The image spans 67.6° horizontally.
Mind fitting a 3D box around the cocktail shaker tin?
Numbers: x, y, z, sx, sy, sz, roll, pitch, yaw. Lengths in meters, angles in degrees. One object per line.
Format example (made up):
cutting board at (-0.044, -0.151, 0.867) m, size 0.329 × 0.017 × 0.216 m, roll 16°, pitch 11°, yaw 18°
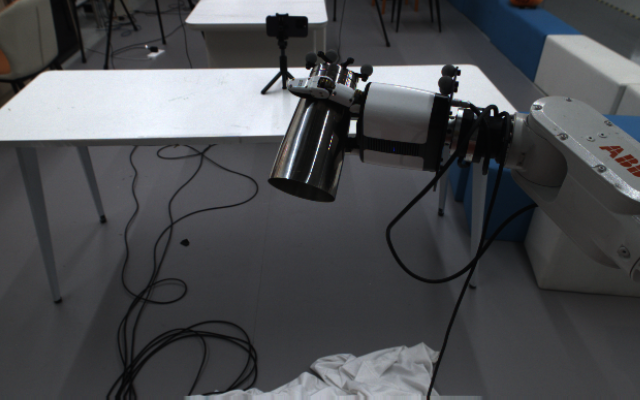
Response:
cocktail shaker tin at (0.000, -0.095, 0.649) m, size 0.093 × 0.093 × 0.170 m, roll 13°, pitch 77°, yaw 15°
